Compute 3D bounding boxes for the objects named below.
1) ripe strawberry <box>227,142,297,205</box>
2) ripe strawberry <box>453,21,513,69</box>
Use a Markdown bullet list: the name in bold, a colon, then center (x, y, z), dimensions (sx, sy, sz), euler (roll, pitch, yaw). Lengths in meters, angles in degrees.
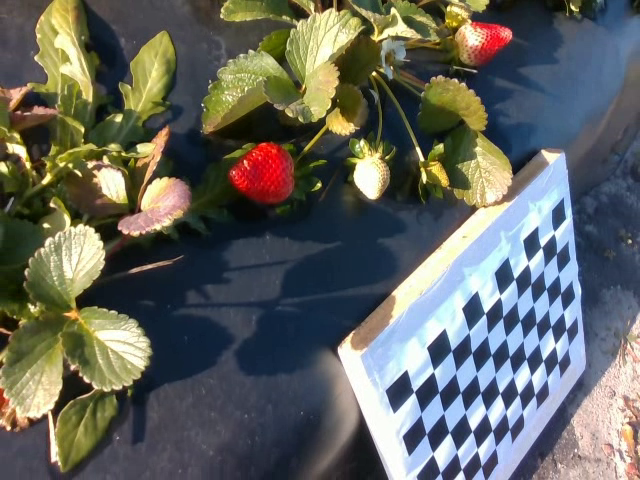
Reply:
- **ripe strawberry**: center (-0.034, -0.038, 0.334), dimensions (0.036, 0.044, 0.053), euler (13, 16, 37)
- **ripe strawberry**: center (0.115, -0.143, 0.437), dimensions (0.045, 0.042, 0.037), euler (-13, -44, 28)
